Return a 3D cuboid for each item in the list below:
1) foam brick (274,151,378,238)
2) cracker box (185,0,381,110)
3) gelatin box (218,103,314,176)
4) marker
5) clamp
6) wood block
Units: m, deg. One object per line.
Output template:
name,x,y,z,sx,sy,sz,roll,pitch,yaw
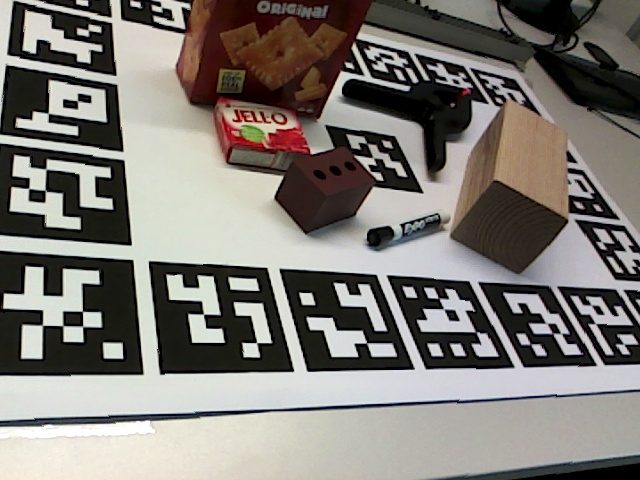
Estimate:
foam brick,0.005,-0.046,0.606,0.077,0.051,0.053,-21,65,-41
cracker box,-0.030,-0.243,0.644,0.163,0.214,0.072,2,49,-31
gelatin box,-0.057,-0.104,0.645,0.089,0.030,0.073,3,51,-28
marker,0.086,-0.008,0.639,0.120,0.020,0.020,-16,62,-39
clamp,0.144,-0.173,0.816,0.166,0.037,0.202,46,45,15
wood block,0.225,-0.069,0.730,0.090,0.091,0.206,28,40,-1
